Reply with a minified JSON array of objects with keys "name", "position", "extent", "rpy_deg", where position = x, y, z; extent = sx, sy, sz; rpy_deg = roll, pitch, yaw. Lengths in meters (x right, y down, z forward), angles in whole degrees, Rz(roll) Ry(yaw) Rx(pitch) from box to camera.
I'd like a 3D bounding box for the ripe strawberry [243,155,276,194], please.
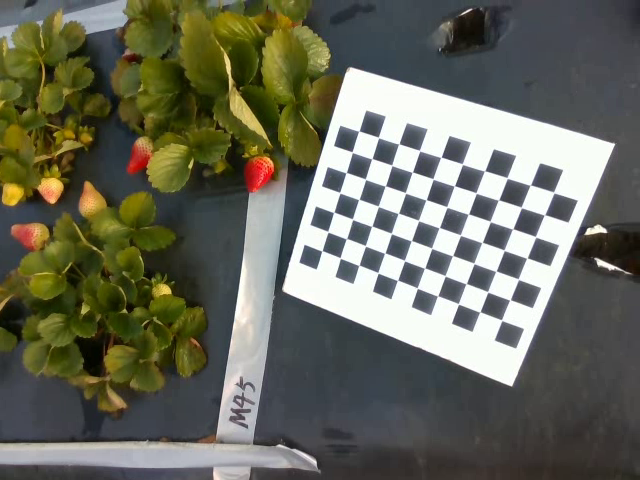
[{"name":"ripe strawberry","position":[-0.070,-0.072,0.665],"extent":[0.050,0.055,0.036],"rpy_deg":[13,-7,11]}]
